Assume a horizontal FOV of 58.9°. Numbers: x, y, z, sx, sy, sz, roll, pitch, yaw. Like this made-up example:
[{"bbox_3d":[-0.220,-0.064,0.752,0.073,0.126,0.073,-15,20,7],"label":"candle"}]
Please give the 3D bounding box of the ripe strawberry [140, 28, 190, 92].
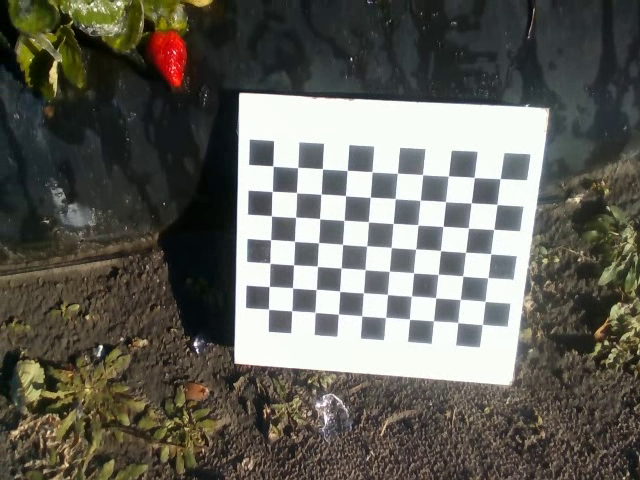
[{"bbox_3d":[-0.141,-0.164,0.519,0.041,0.052,0.040,-14,3,4],"label":"ripe strawberry"}]
